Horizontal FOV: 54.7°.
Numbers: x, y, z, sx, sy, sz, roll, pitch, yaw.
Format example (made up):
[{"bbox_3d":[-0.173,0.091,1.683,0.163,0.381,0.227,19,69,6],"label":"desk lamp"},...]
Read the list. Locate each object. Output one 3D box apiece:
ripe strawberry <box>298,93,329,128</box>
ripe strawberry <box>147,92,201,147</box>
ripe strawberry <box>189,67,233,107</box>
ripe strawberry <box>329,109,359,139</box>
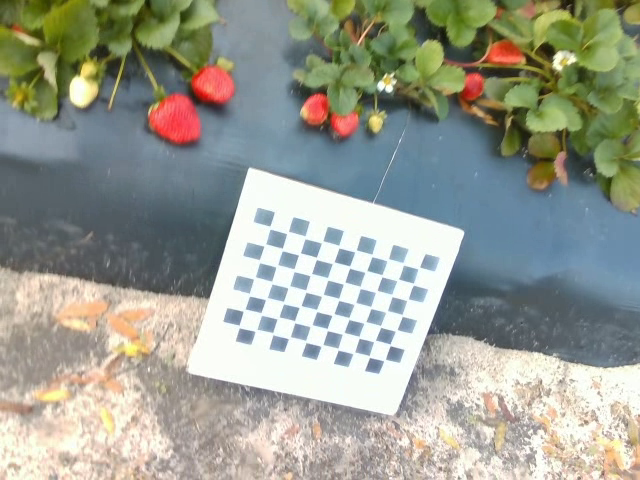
[{"bbox_3d":[-0.012,-0.169,0.788,0.053,0.047,0.038,-19,26,-37],"label":"ripe strawberry"},{"bbox_3d":[-0.172,-0.146,0.742,0.058,0.065,0.043,-42,0,9],"label":"ripe strawberry"},{"bbox_3d":[-0.130,-0.193,0.763,0.060,0.051,0.051,49,12,32],"label":"ripe strawberry"},{"bbox_3d":[0.029,-0.153,0.787,0.043,0.041,0.049,10,40,-11],"label":"ripe strawberry"}]
